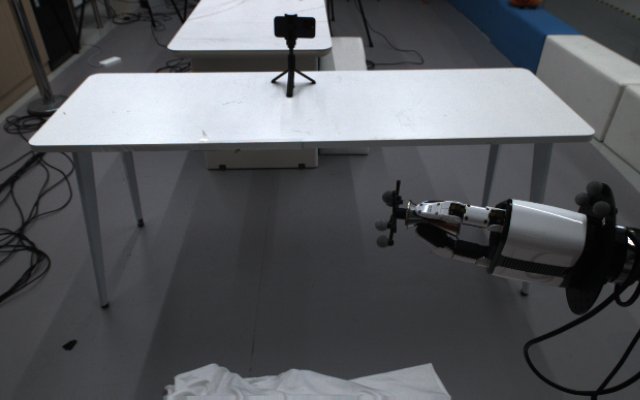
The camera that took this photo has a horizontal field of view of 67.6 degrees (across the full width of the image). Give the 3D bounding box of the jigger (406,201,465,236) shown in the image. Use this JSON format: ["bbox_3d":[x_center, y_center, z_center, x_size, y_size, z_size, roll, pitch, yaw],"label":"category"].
[{"bbox_3d":[0.154,0.019,0.627,0.071,0.043,0.043,7,35,15],"label":"jigger"}]
